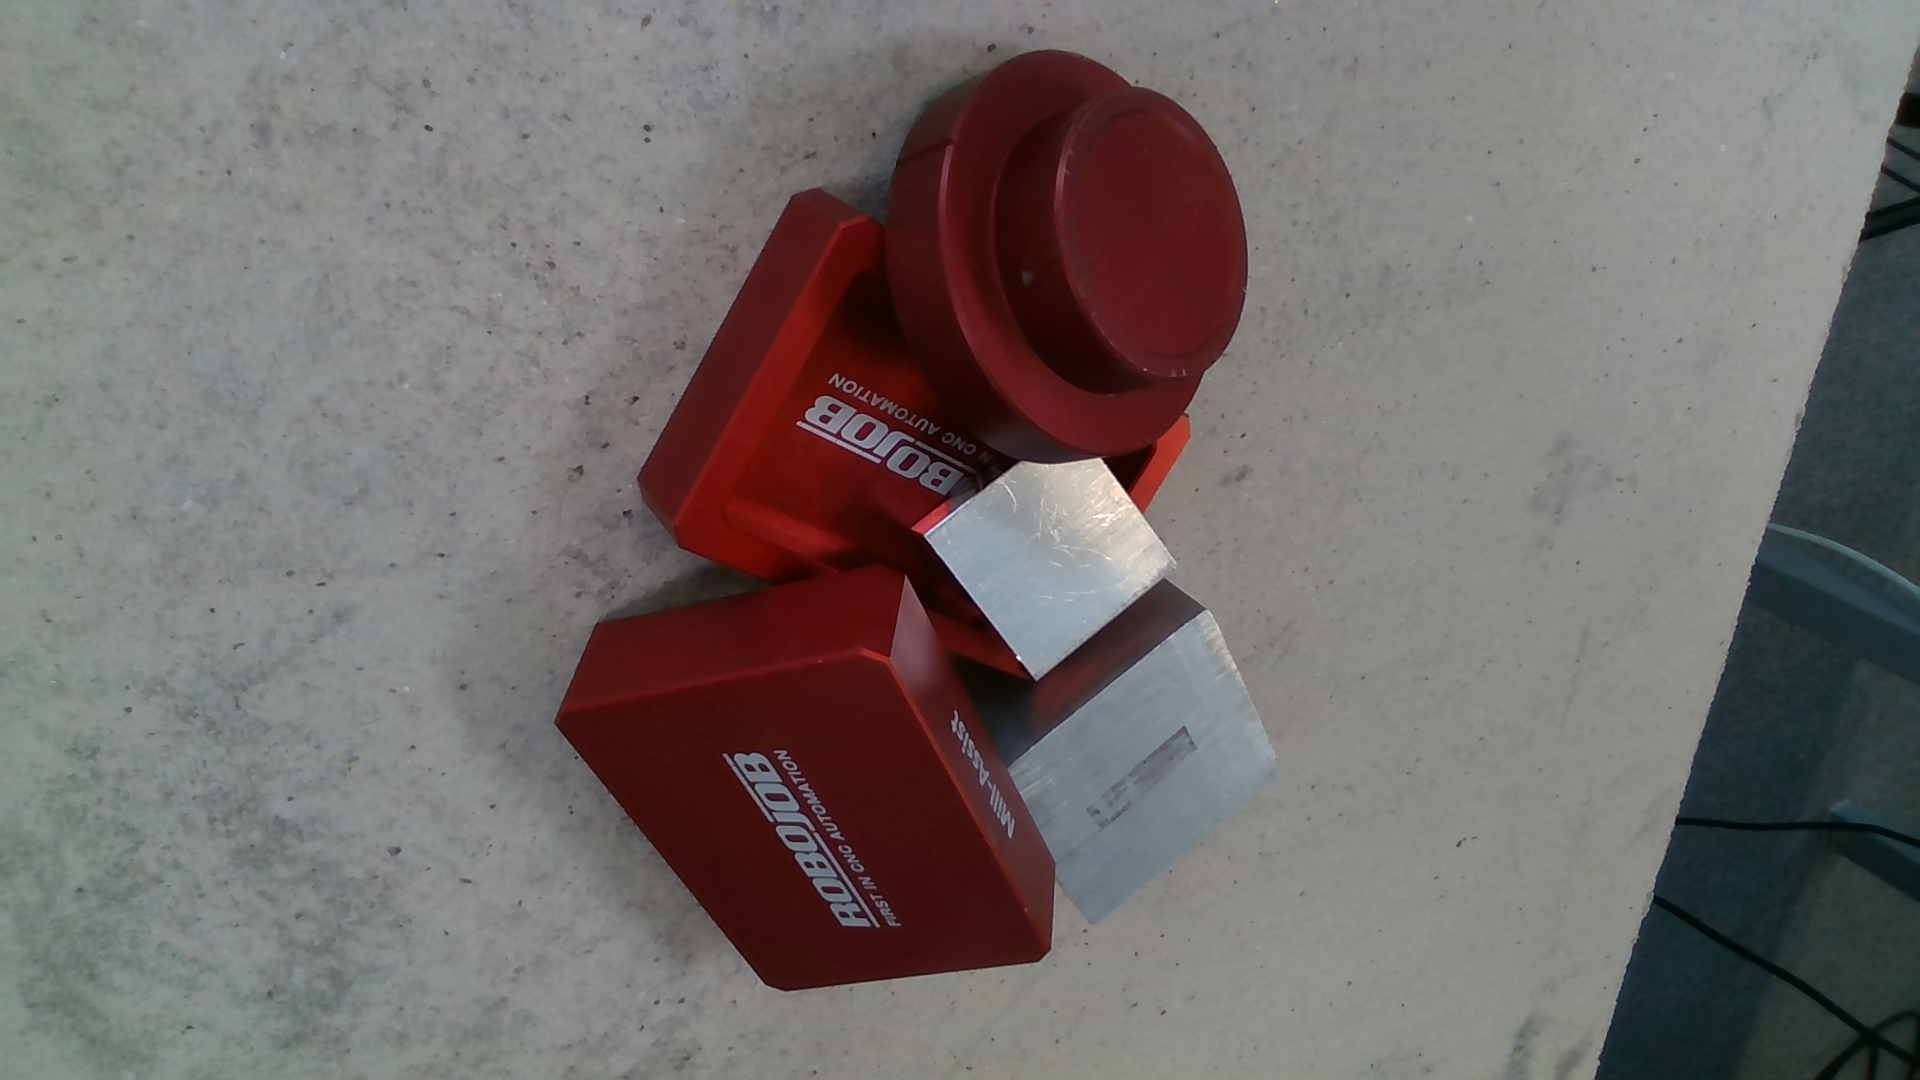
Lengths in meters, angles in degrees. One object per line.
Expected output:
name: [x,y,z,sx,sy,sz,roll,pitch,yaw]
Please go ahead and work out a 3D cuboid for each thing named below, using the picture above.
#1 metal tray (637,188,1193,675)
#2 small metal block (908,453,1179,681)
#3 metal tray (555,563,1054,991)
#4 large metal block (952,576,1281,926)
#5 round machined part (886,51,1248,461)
metal tray: [-0.007,-0.023,0.369,0.130,0.030,0.090,24,101,-38]
small metal block: [0.022,0.001,0.375,0.050,0.025,0.050,-39,101,-5]
metal tray: [-0.036,0.070,0.373,0.090,0.030,0.130,-12,128,17]
large metal block: [0.045,0.060,0.434,0.080,0.050,0.080,-37,128,-9]
round machined part: [0.033,-0.070,0.334,0.098,0.042,0.098,5,83,-42]
